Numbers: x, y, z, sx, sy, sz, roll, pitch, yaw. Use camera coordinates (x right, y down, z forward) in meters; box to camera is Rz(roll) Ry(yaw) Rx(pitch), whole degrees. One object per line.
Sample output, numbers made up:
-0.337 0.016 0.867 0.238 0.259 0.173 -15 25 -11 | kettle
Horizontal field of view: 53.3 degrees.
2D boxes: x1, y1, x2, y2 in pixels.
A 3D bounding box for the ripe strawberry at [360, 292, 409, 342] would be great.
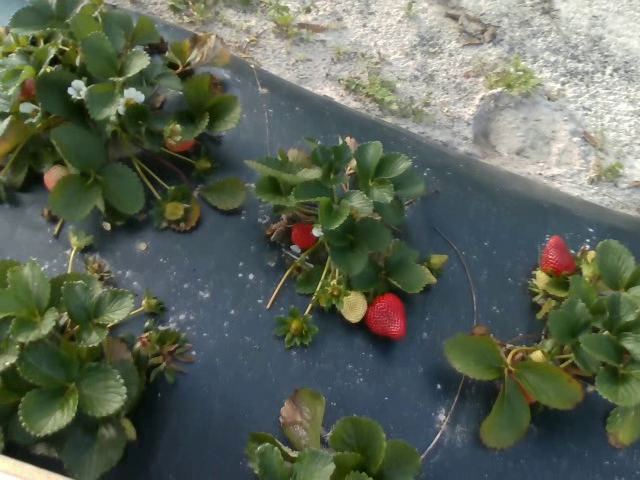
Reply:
0.076 0.091 0.694 0.048 0.051 0.055 38 16 -33 | ripe strawberry
